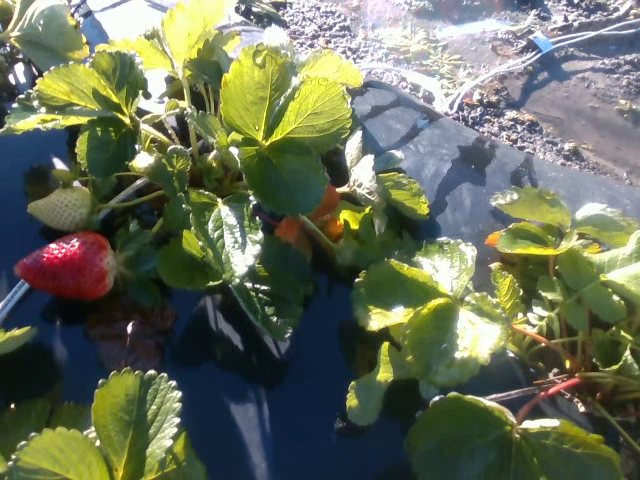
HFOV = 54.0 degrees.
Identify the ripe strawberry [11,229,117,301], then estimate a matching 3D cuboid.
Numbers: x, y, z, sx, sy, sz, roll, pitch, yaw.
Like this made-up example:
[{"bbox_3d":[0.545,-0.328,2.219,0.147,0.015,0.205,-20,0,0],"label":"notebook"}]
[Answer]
[{"bbox_3d":[-0.171,0.018,0.429,0.080,0.063,0.040,-3,-7,-32],"label":"ripe strawberry"}]
